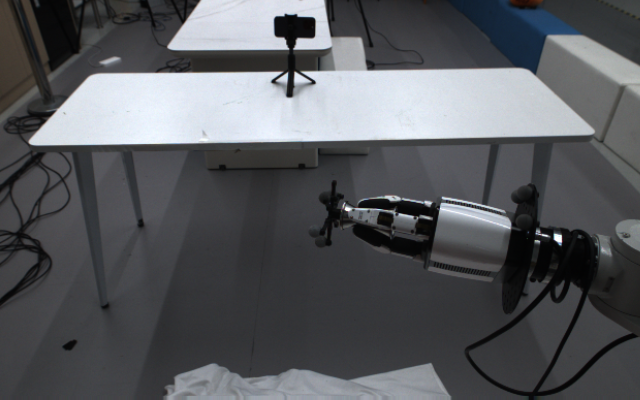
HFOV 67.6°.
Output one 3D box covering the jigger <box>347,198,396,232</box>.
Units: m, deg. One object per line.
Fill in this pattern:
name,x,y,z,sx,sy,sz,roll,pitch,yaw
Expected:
jigger,0.070,0.020,0.627,0.071,0.043,0.043,7,35,16
